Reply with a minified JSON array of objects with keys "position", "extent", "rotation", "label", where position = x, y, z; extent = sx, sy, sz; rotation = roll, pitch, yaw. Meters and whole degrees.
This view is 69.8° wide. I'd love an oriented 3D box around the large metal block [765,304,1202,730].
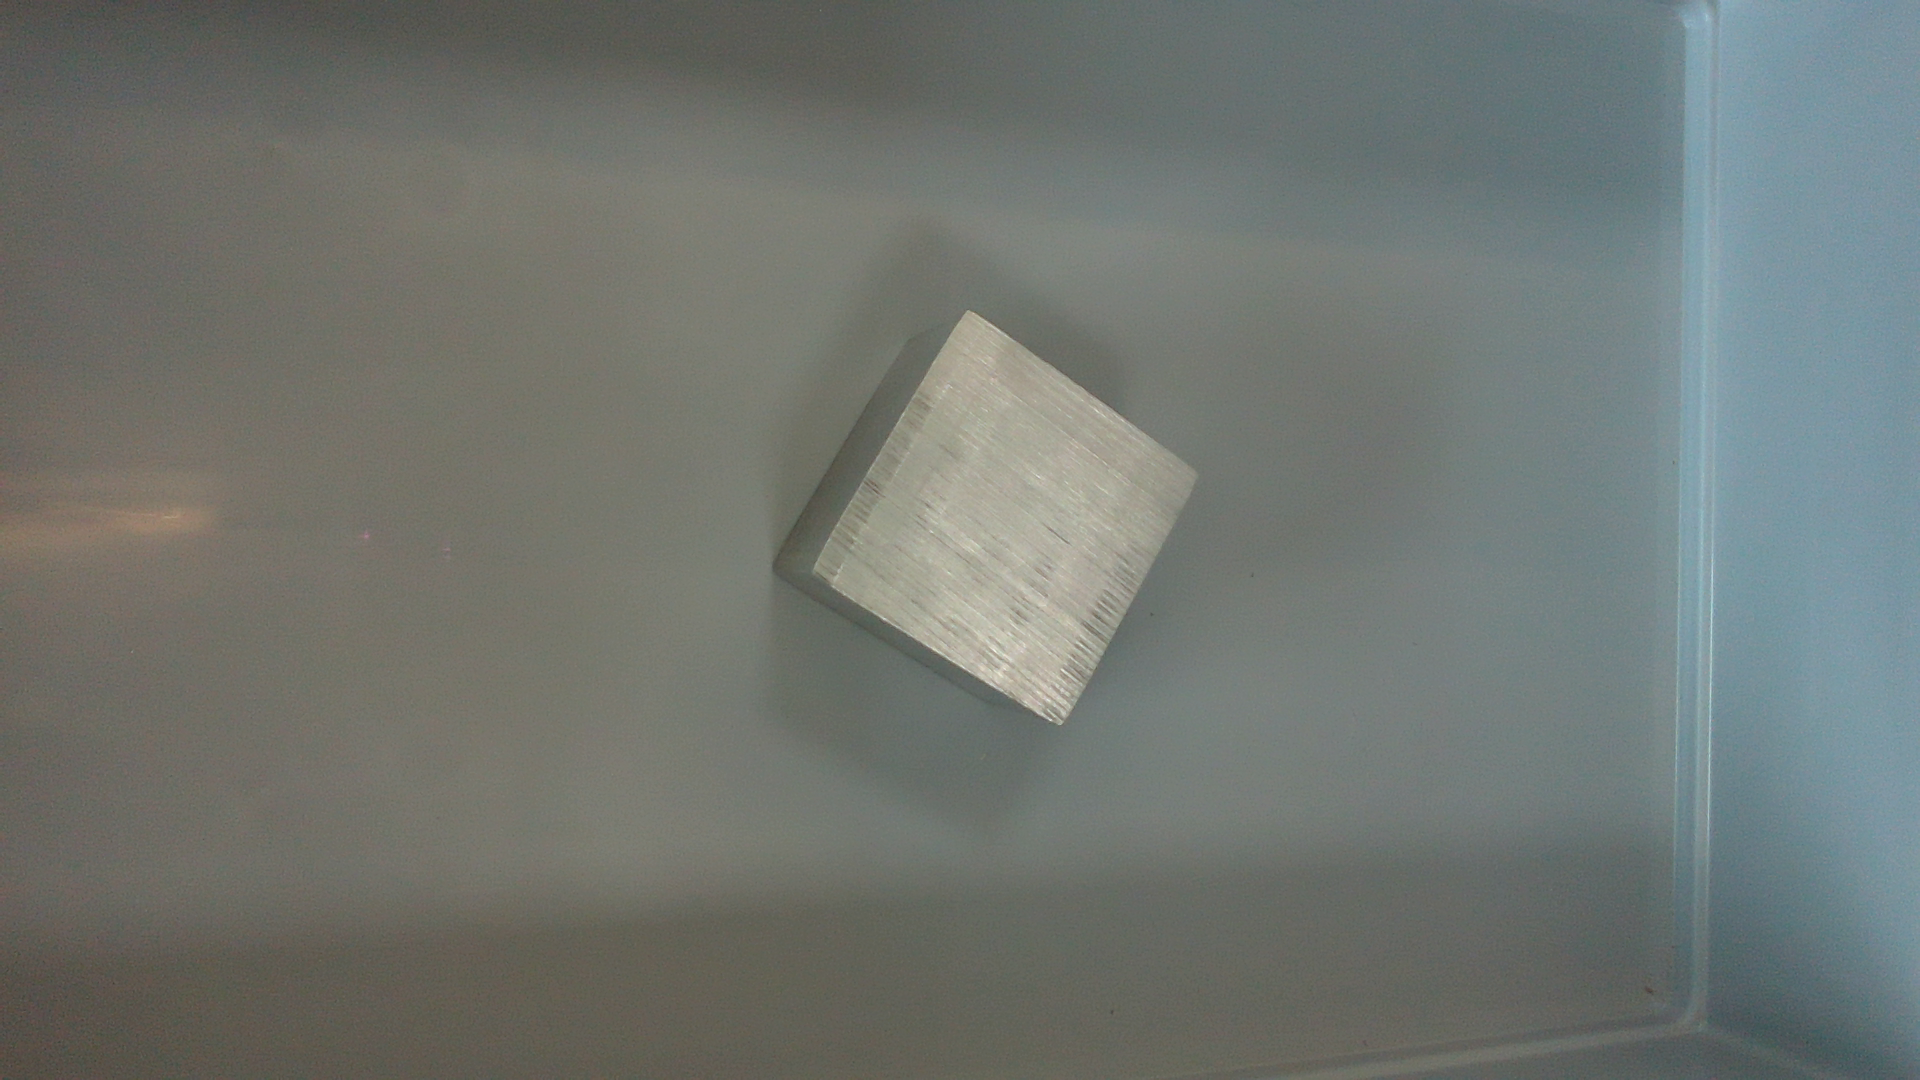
[{"position":[0.006,-0.005,0.379],"extent":[0.080,0.050,0.080],"rotation":[33,79,-17],"label":"large metal block"}]
